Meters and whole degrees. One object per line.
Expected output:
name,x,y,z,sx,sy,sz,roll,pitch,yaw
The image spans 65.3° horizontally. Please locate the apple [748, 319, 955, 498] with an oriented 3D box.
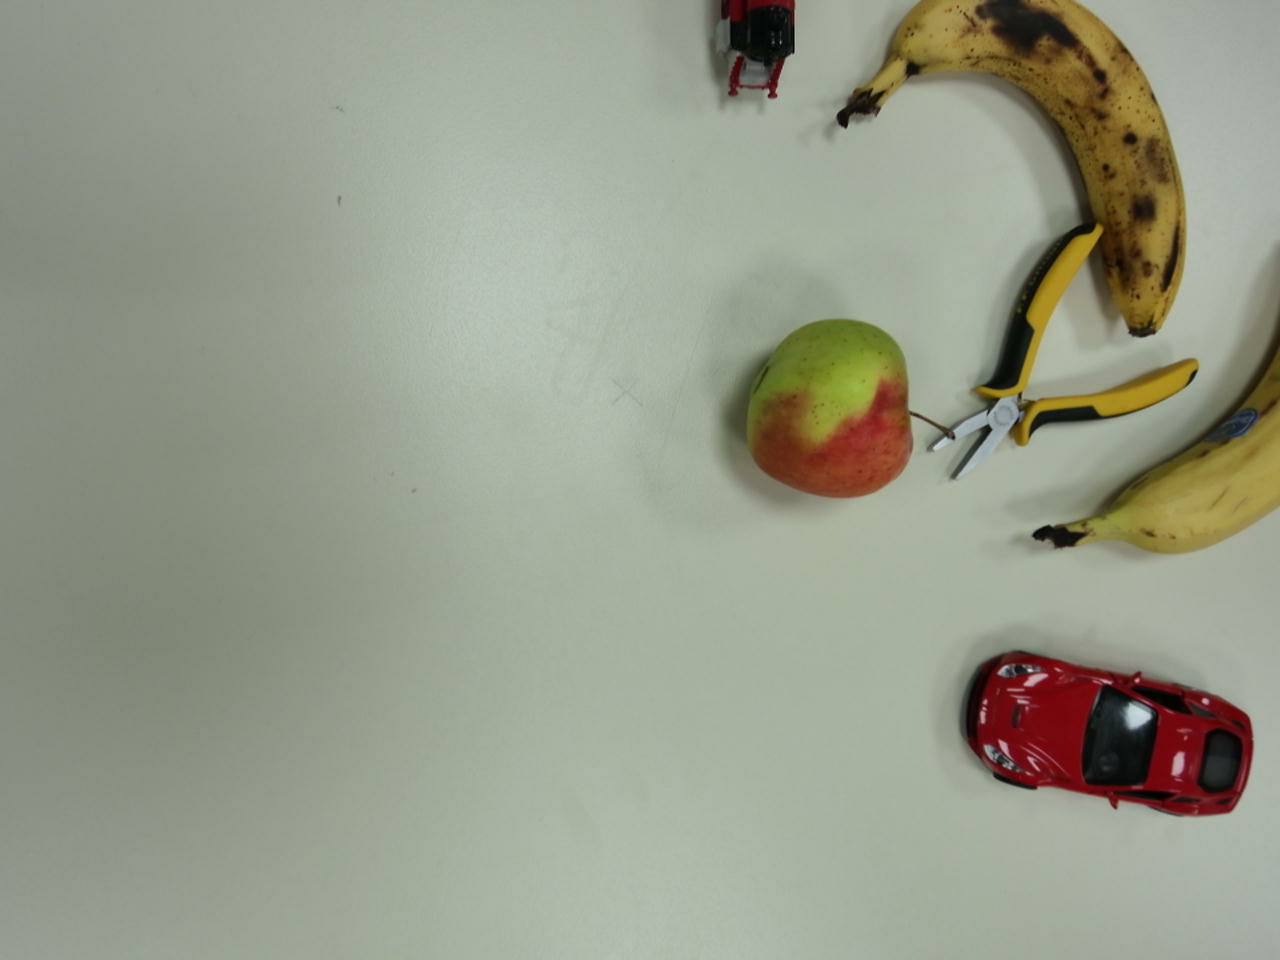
apple,0.081,-0.029,0.420,0.075,0.074,0.075,-30,96,-10
